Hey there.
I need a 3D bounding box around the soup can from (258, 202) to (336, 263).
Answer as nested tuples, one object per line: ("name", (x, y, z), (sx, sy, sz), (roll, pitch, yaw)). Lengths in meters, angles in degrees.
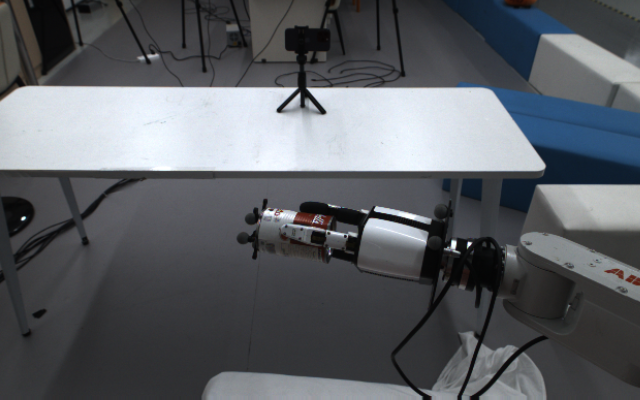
("soup can", (-0.031, 0.049, 0.690), (0.101, 0.067, 0.067), (7, 35, 11))
